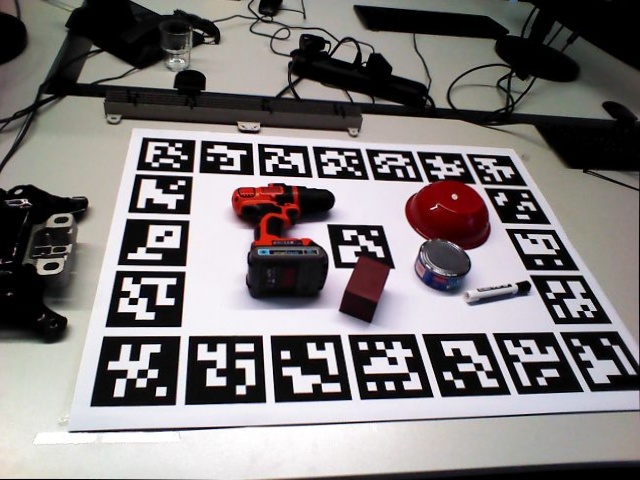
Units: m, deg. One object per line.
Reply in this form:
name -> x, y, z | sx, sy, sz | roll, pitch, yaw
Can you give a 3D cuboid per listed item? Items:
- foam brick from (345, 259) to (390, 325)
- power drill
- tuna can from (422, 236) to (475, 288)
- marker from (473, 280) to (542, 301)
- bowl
foam brick -> 0.076, 0.077, 0.768 | 0.051, 0.053, 0.077 | 19, 47, 6
power drill -> -0.050, -0.009, 0.821 | 0.184, 0.057, 0.186 | 2, 43, -14
tuna can -> 0.211, 0.036, 0.836 | 0.086, 0.034, 0.085 | 7, 45, -7
marker -> 0.300, 0.079, 0.820 | 0.121, 0.020, 0.019 | -6, 49, -17
bowl -> 0.245, -0.056, 0.933 | 0.162, 0.055, 0.161 | 3, 39, -3
